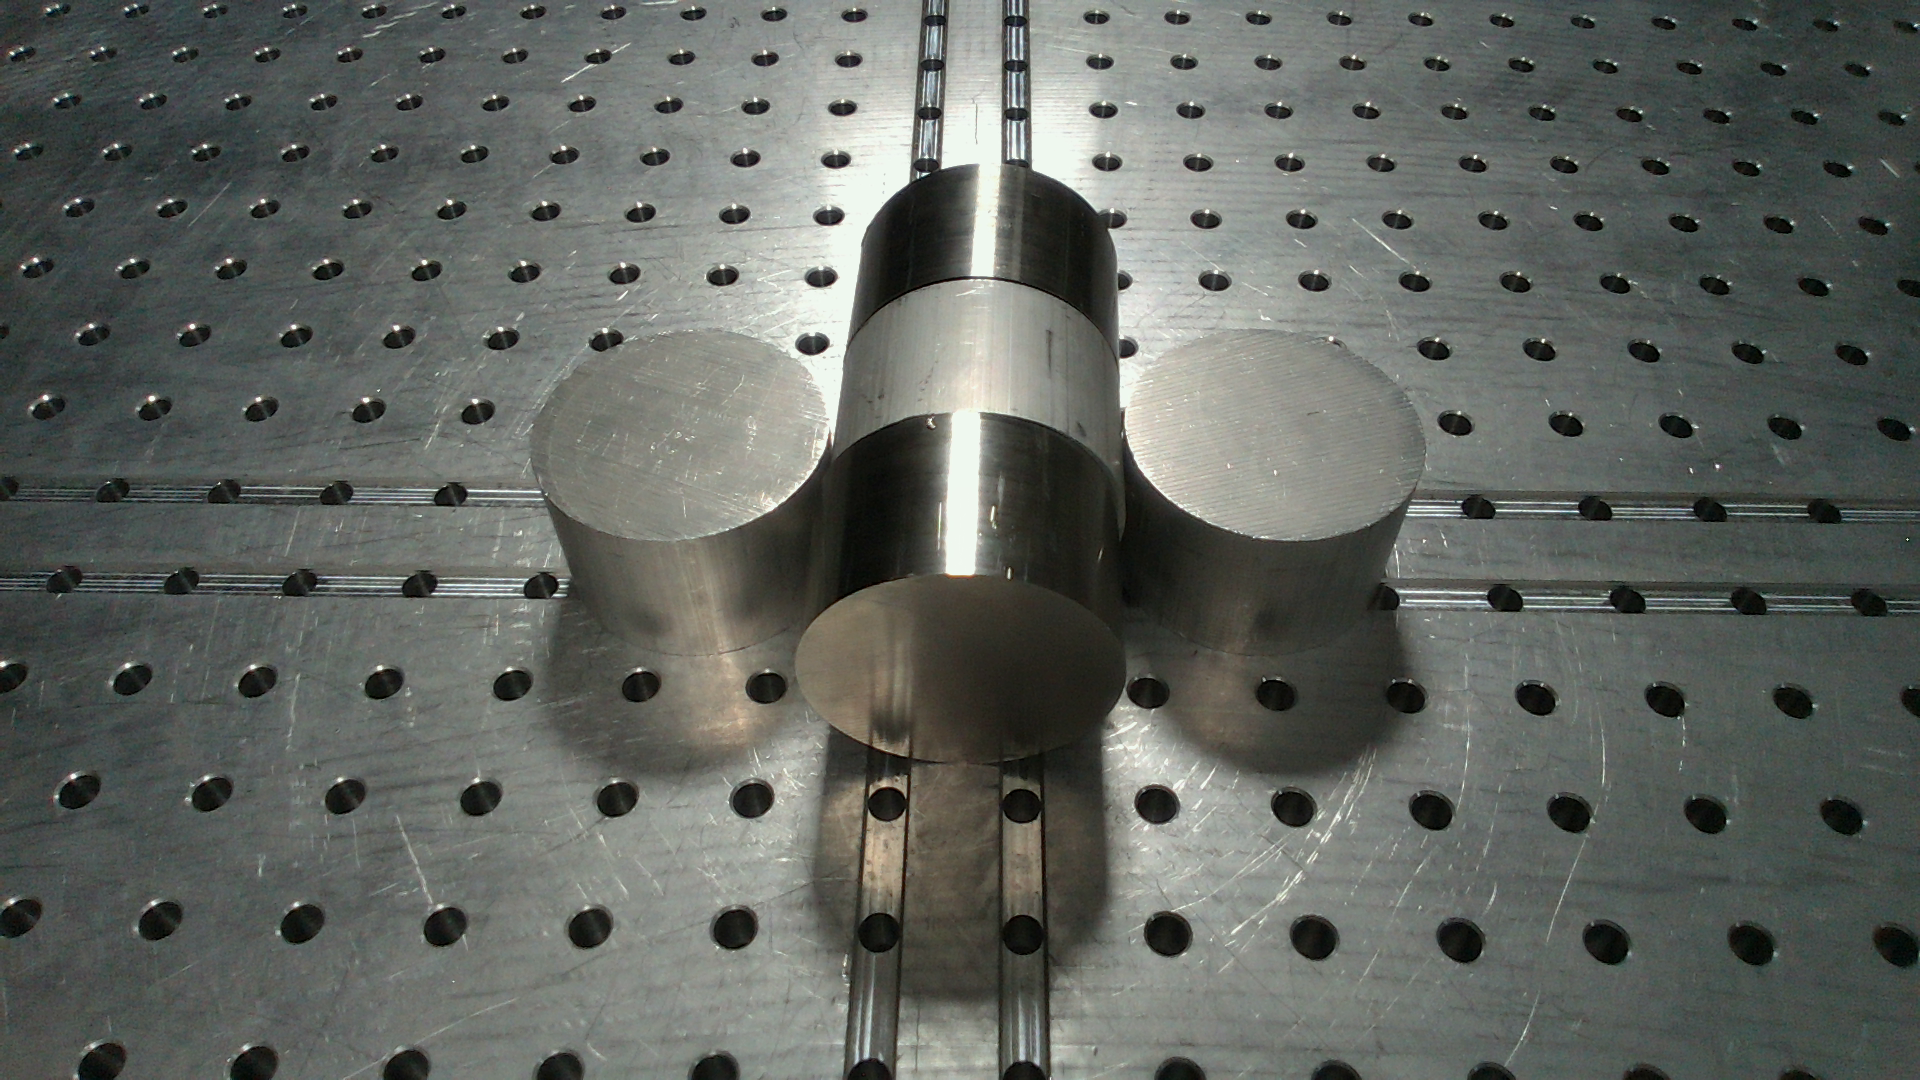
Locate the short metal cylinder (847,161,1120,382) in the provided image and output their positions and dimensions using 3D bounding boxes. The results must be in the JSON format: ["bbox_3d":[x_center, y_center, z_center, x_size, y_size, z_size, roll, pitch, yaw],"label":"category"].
[{"bbox_3d":[0.007,-0.065,0.412,0.080,0.080,0.050,2,50,2],"label":"short metal cylinder"}]

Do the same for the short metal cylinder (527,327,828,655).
[{"bbox_3d":[-0.076,-0.015,0.390,0.080,0.050,0.080,0,50,0],"label":"short metal cylinder"}]

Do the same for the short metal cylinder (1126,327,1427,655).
[{"bbox_3d":[0.085,-0.015,0.390,0.080,0.050,0.080,0,50,0],"label":"short metal cylinder"}]

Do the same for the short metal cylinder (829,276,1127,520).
[{"bbox_3d":[0.005,-0.025,0.379,0.080,0.080,0.050,1,50,1],"label":"short metal cylinder"}]

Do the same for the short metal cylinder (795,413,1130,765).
[{"bbox_3d":[0.001,0.014,0.346,0.080,0.080,0.050,1,50,1],"label":"short metal cylinder"}]
